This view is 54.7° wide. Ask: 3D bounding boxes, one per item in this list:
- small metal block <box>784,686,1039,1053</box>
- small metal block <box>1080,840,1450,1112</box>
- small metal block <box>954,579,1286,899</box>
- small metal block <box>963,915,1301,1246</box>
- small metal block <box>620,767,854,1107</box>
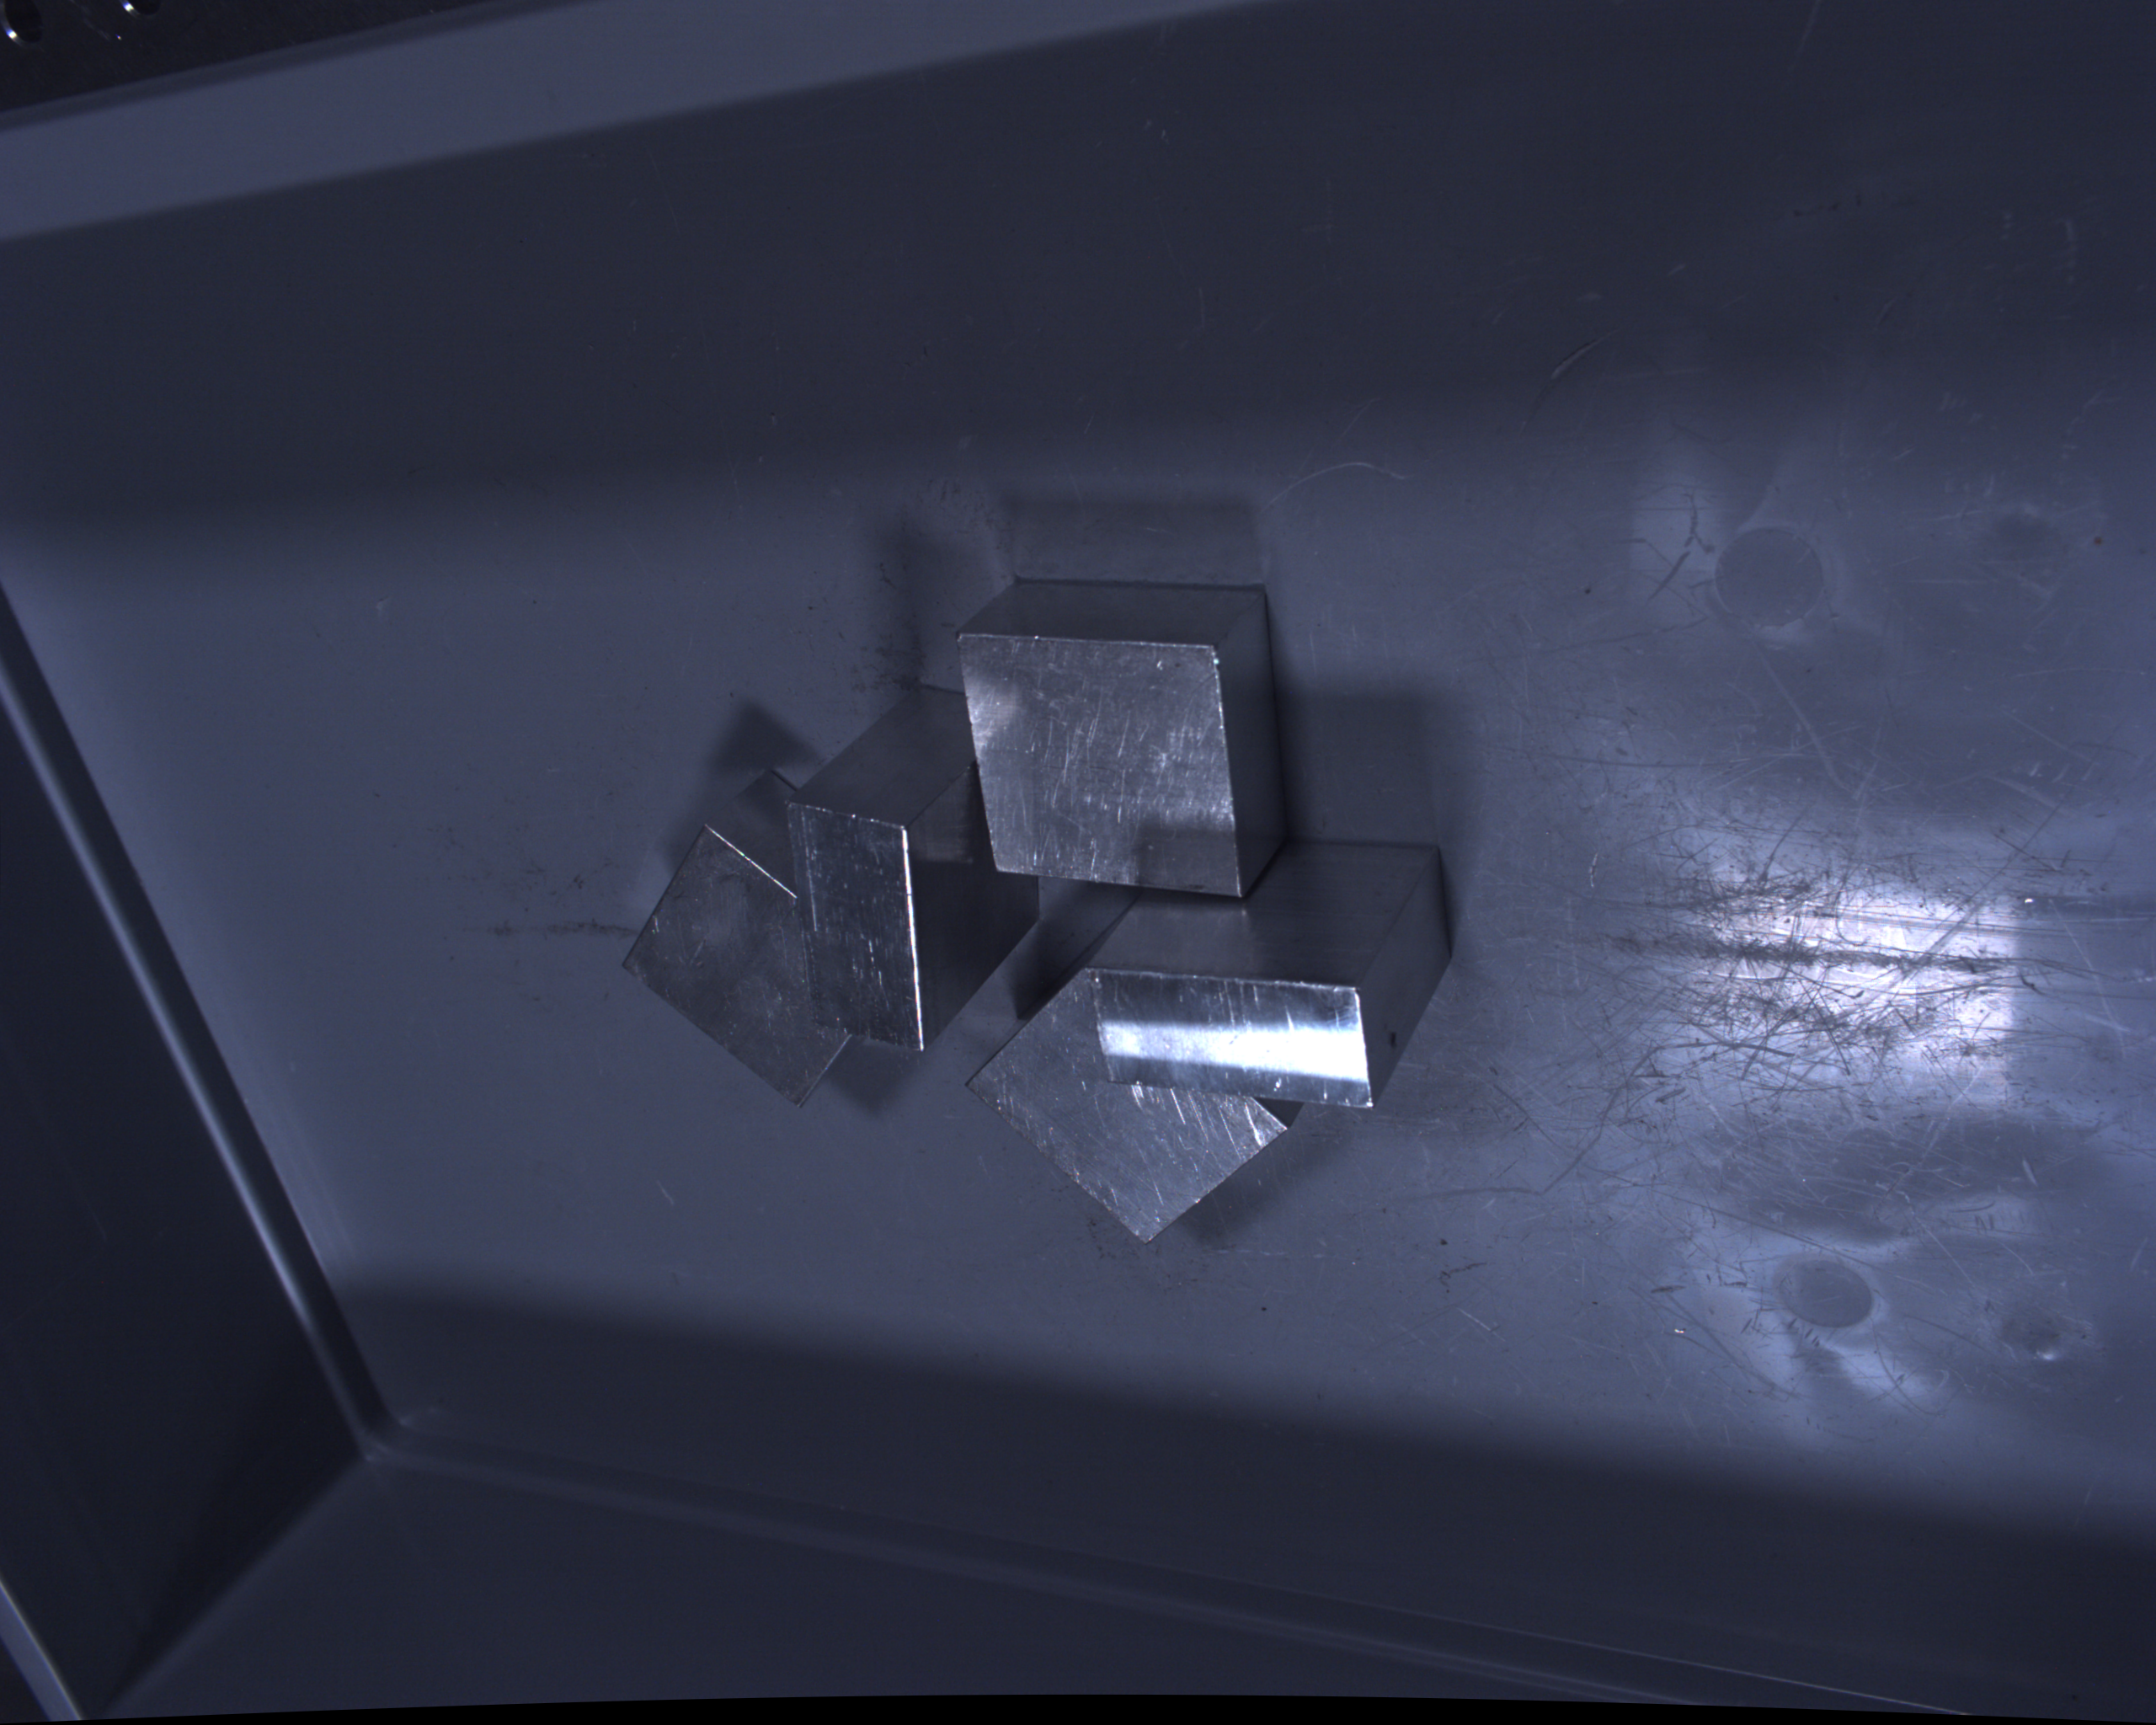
[{"bbox_3d":[-0.031,0.000,0.405,0.025,0.050,0.050,12,123,21],"label":"small metal block"},{"bbox_3d":[0.035,0.019,0.381,0.050,0.050,0.025,3,120,26],"label":"small metal block"},{"bbox_3d":[0.009,-0.023,0.386,0.050,0.025,0.050,6,121,24],"label":"small metal block"},{"bbox_3d":[0.014,0.042,0.424,0.050,0.025,0.050,42,129,-1],"label":"small metal block"},{"bbox_3d":[-0.063,0.016,0.448,0.050,0.025,0.050,39,129,1],"label":"small metal block"}]
